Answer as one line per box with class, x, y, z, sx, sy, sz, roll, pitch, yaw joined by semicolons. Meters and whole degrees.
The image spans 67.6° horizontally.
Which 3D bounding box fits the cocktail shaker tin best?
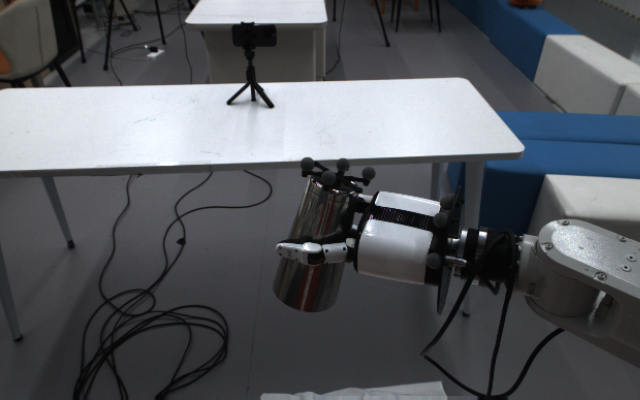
cocktail shaker tin;0.001;0.051;0.643;0.093;0.170;0.093;12;24;-5
